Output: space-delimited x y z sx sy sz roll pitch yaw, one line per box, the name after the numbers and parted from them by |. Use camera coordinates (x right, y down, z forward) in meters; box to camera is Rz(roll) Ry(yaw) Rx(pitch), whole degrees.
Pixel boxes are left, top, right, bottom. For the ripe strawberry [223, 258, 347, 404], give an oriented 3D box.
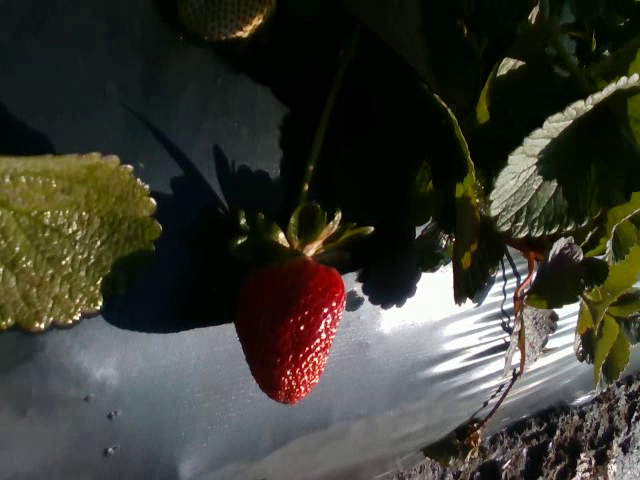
-0.009 0.031 0.197 0.043 0.050 0.043 -12 -32 22 | ripe strawberry
